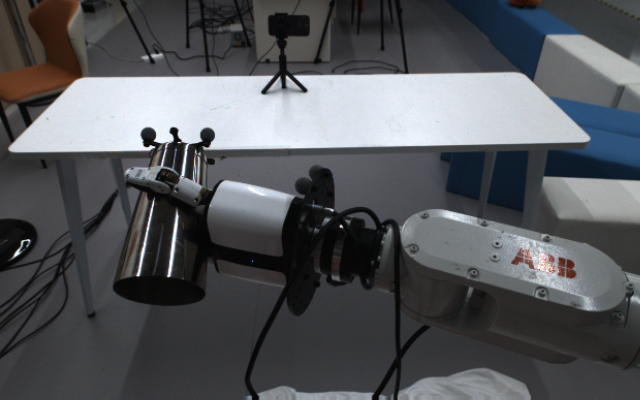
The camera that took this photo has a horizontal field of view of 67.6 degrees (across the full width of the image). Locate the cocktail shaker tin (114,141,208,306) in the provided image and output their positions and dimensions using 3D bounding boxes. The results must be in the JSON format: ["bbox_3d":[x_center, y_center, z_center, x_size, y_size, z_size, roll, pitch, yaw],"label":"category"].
[{"bbox_3d":[-0.168,0.022,0.538,0.093,0.093,0.170,0,59,-3],"label":"cocktail shaker tin"}]
